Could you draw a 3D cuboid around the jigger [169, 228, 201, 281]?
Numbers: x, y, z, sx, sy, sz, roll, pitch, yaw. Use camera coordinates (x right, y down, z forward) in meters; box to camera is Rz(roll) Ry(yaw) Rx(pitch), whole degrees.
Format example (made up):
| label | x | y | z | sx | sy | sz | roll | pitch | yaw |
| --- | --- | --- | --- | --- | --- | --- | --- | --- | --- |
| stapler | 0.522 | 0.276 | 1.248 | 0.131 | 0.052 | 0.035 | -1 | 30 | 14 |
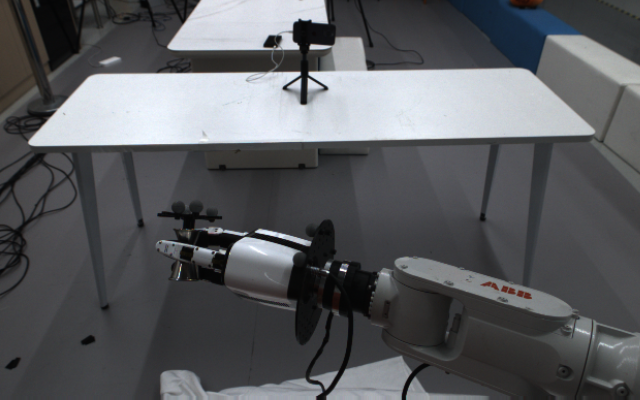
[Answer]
| label | x | y | z | sx | sy | sz | roll | pitch | yaw |
| --- | --- | --- | --- | --- | --- | --- | --- | --- | --- |
| jigger | -0.178 | 0.073 | 0.651 | 0.043 | 0.071 | 0.043 | 2 | -6 | 0 |
